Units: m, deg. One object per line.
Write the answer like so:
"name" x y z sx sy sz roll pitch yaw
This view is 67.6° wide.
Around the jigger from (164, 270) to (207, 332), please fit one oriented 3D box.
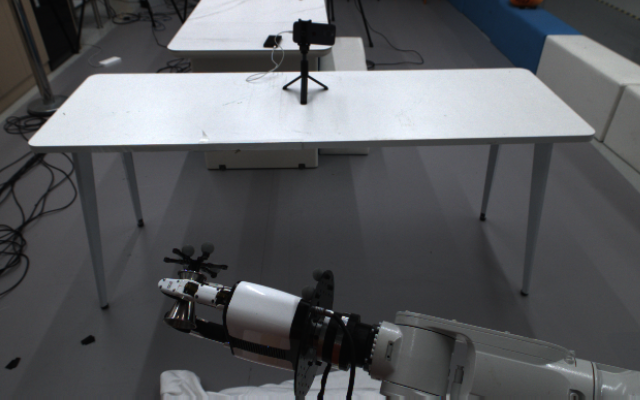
"jigger" -0.180 0.130 0.643 0.043 0.043 0.071 6 60 5
